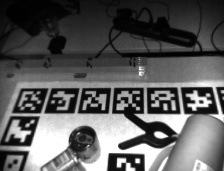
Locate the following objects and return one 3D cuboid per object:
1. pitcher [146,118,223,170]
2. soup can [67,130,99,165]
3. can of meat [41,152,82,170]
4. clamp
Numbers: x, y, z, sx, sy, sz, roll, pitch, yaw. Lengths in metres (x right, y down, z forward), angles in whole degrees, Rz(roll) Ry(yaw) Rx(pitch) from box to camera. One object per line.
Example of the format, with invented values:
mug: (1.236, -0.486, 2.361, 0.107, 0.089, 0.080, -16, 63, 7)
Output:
pitcher: (0.182, 0.199, 0.518, 0.186, 0.135, 0.243, 3, 45, 37)
soup can: (-0.079, 0.172, 0.593, 0.067, 0.103, 0.067, -5, 57, 8)
can of meat: (-0.131, 0.227, 0.556, 0.084, 0.103, 0.057, -33, 58, -10)
clamp: (0.085, 0.145, 0.642, 0.165, 0.037, 0.121, 3, 52, 5)
